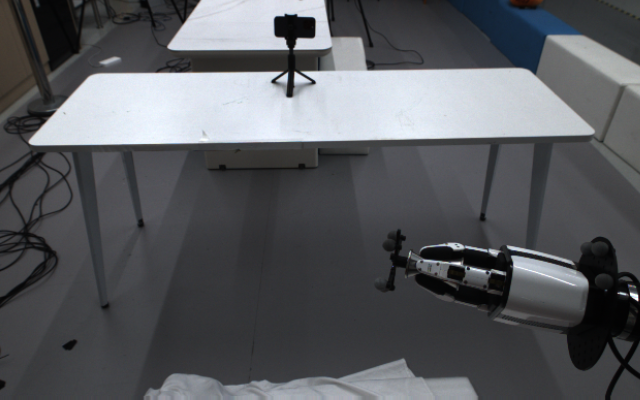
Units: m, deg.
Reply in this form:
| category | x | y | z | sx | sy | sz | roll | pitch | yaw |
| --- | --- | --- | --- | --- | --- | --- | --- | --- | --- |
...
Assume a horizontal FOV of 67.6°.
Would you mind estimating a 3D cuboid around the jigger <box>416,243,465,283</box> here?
| category | x | y | z | sx | sy | sz | roll | pitch | yaw |
| --- | --- | --- | --- | --- | --- | --- | --- | --- | --- |
| jigger | 0.154 | 0.085 | 0.627 | 0.071 | 0.043 | 0.043 | 10 | 35 | 16 |
